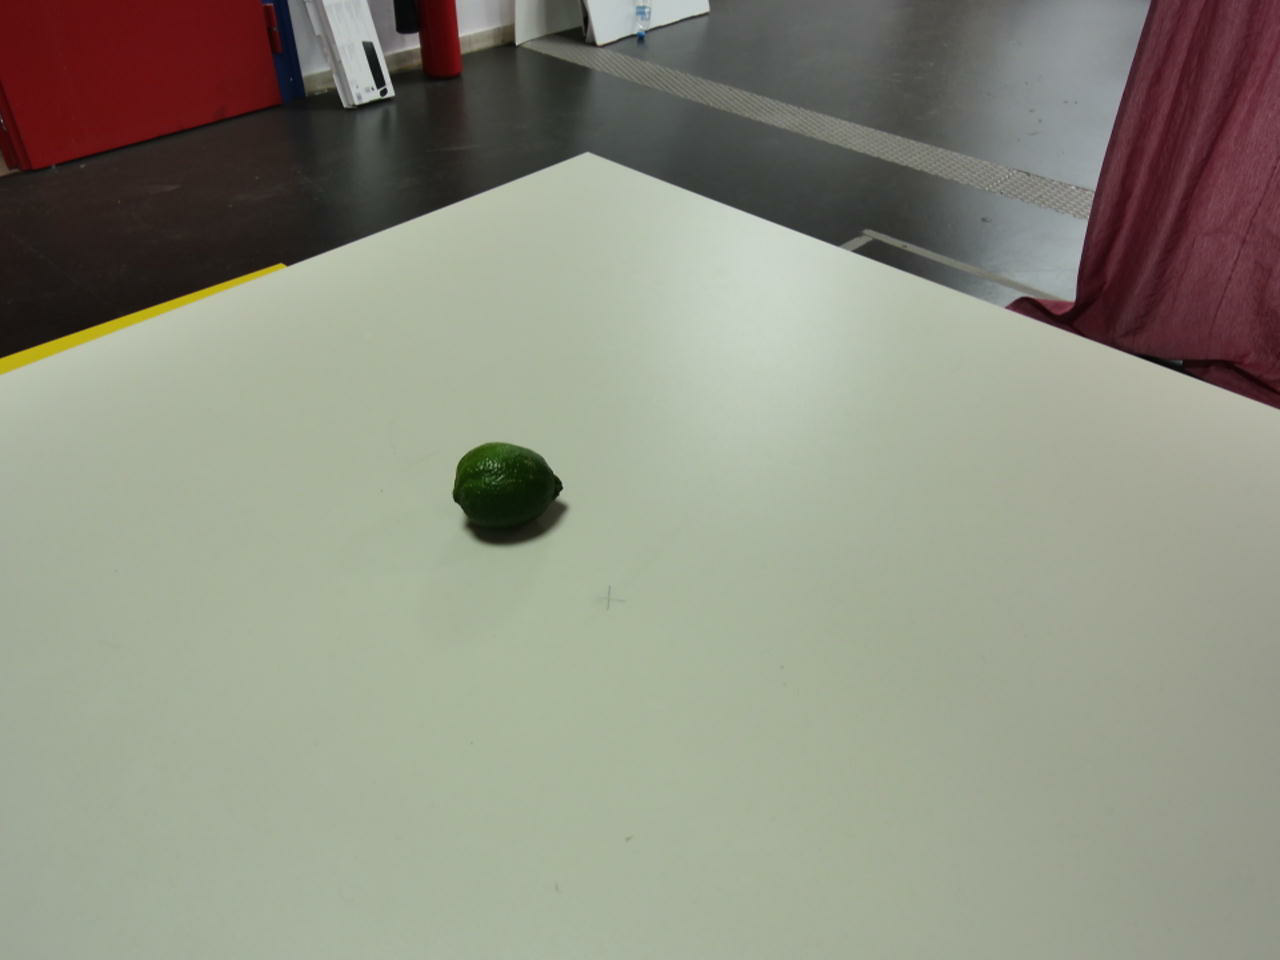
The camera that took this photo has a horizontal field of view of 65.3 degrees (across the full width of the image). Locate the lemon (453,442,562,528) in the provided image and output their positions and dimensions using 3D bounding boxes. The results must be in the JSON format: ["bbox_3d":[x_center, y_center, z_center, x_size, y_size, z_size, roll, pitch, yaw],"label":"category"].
[{"bbox_3d":[-0.080,0.002,0.580,0.054,0.051,0.057,26,44,29],"label":"lemon"}]
